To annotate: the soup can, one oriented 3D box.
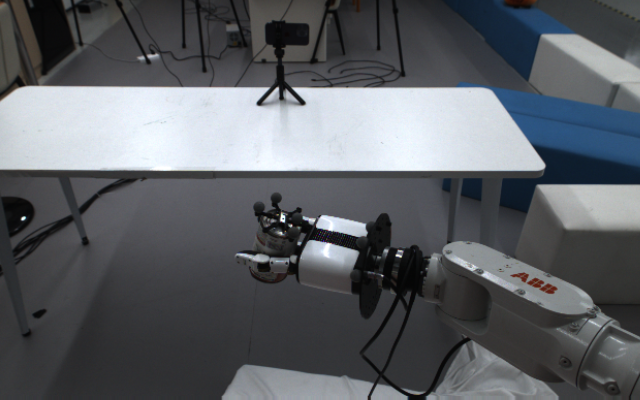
[{"bbox_3d":[-0.071,0.075,0.764,0.067,0.101,0.067,13,35,-9],"label":"soup can"}]
